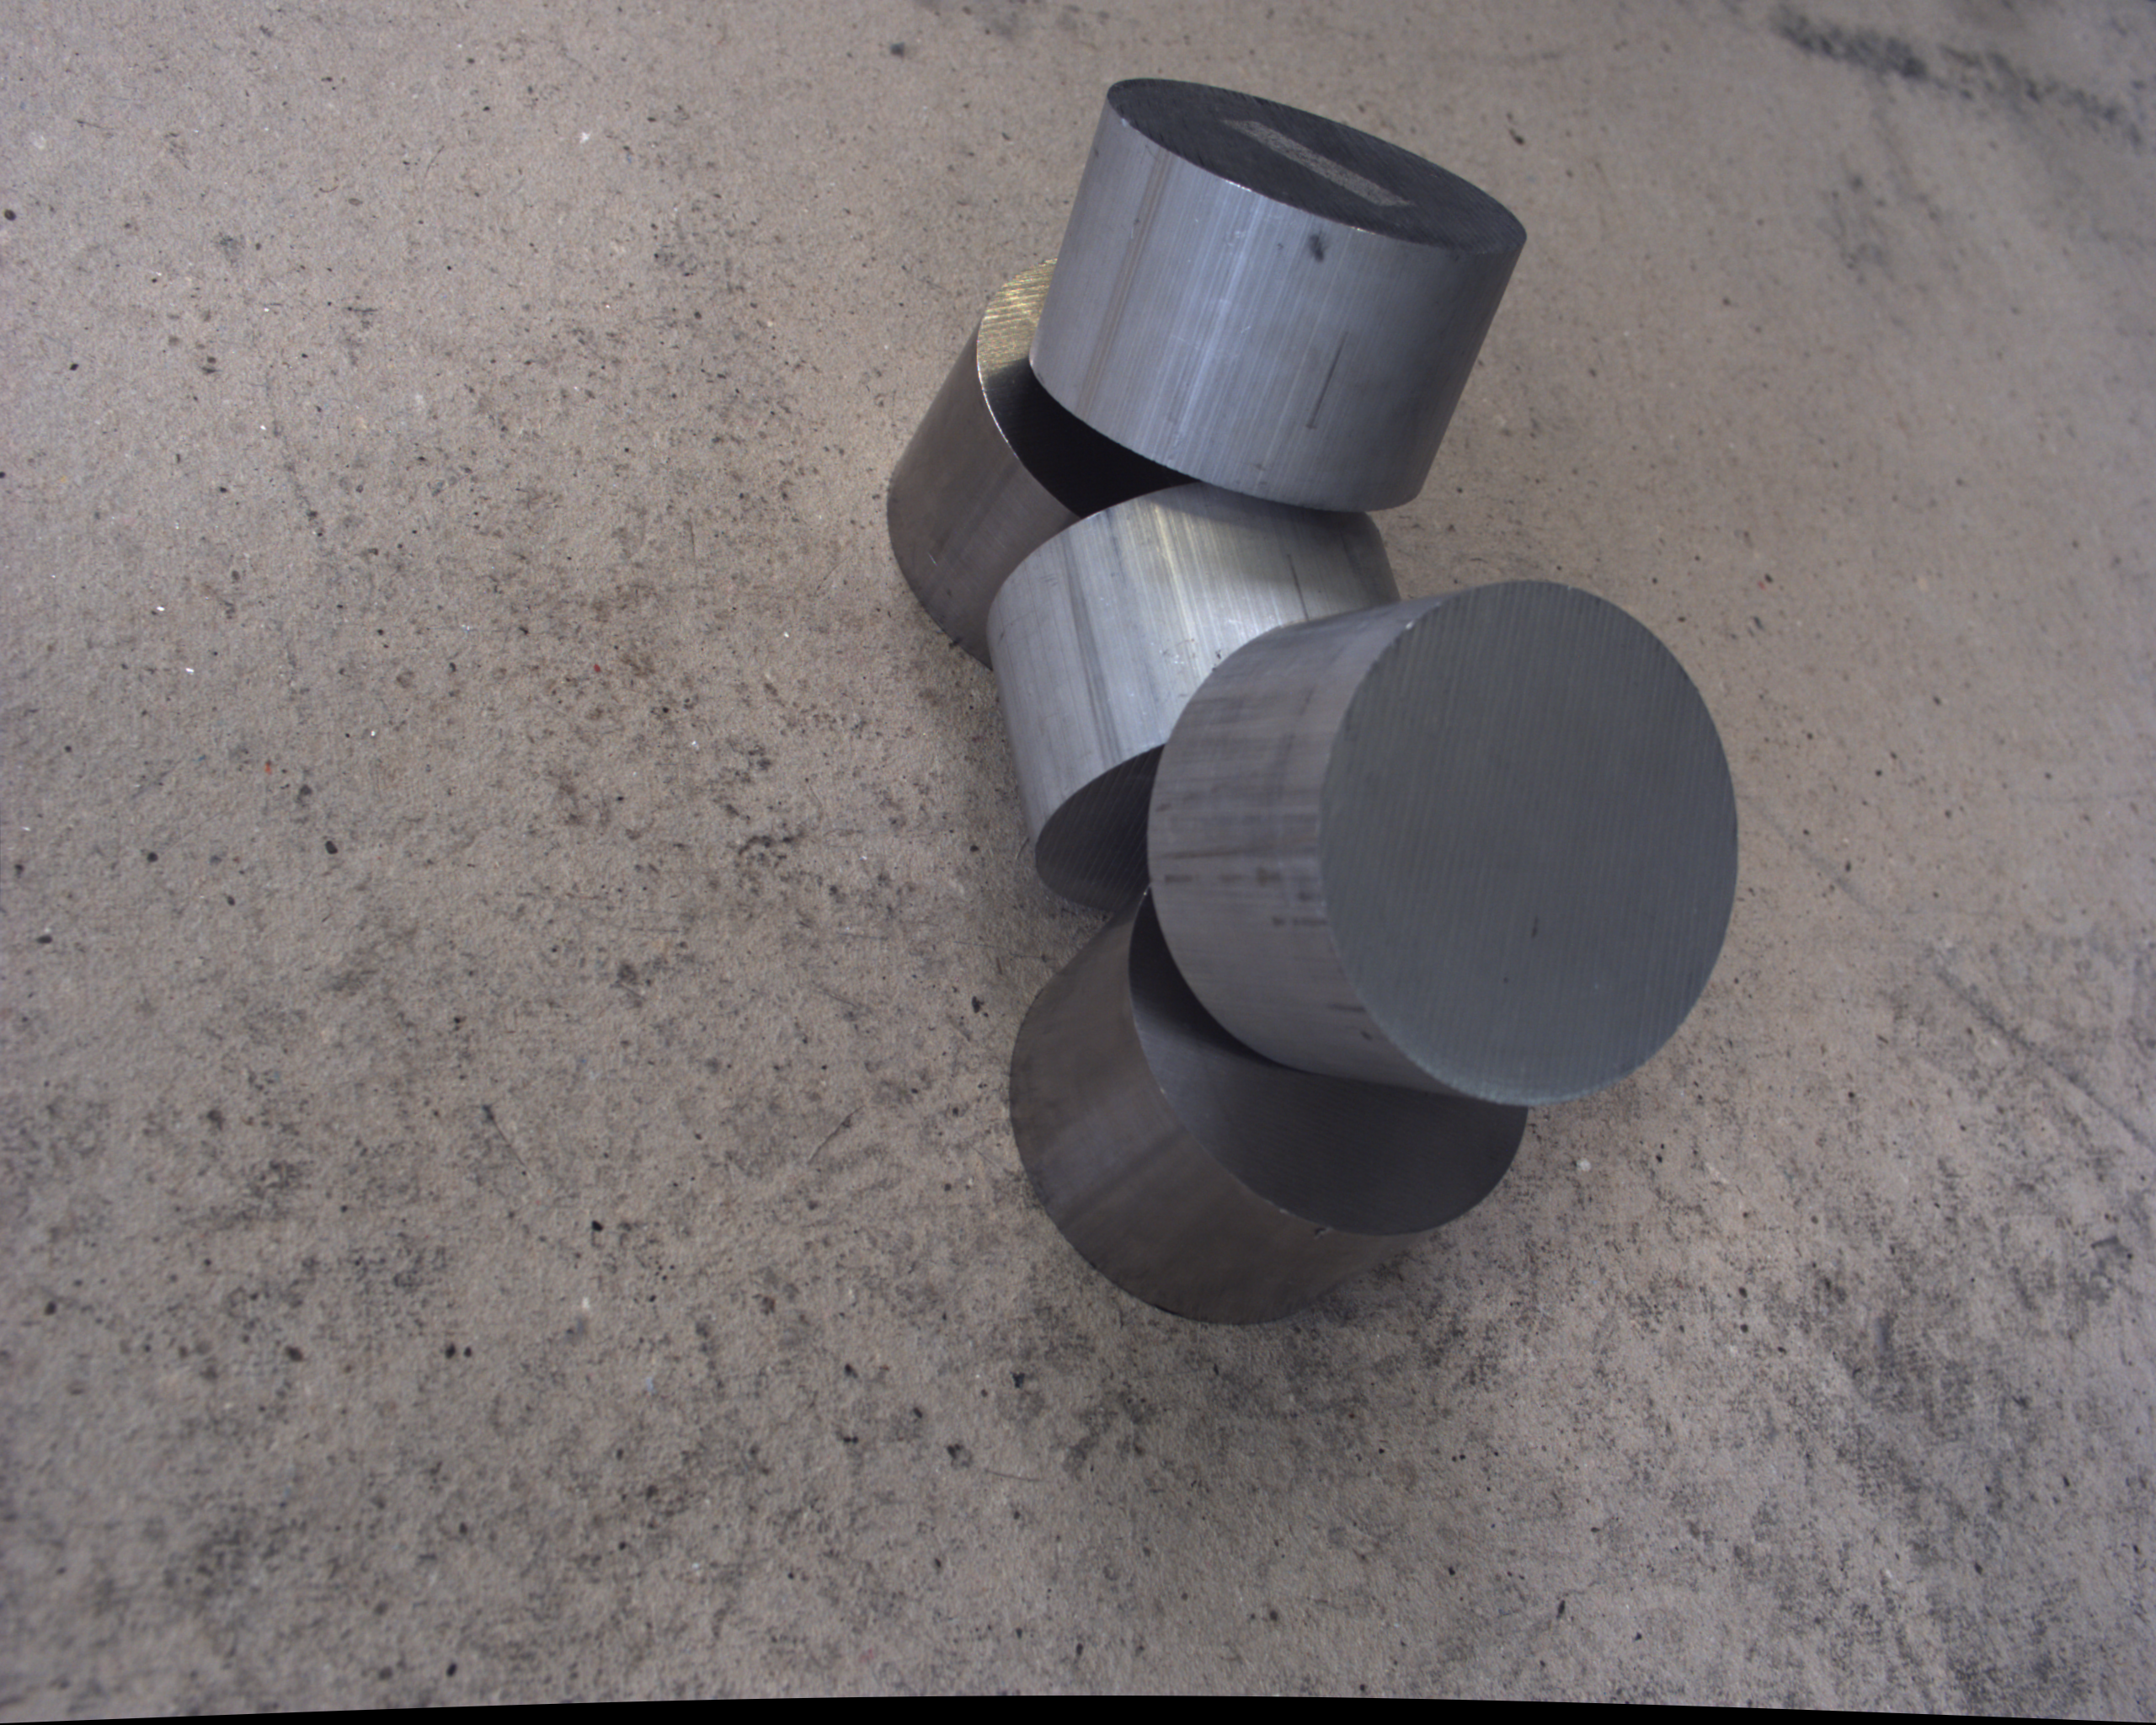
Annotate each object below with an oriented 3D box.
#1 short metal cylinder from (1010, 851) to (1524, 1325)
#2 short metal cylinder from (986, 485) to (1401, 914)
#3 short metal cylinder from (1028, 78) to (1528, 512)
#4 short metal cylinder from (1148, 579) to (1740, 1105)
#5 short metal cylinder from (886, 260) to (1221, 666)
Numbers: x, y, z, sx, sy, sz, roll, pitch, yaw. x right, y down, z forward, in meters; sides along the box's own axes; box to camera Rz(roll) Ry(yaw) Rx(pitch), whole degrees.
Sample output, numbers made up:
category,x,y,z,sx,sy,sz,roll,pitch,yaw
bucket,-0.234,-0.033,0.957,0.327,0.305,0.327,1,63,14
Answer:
category,x,y,z,sx,sy,sz,roll,pitch,yaw
short metal cylinder,0.034,0.039,0.384,0.081,0.050,0.080,14,56,-21
short metal cylinder,0.026,-0.030,0.403,0.081,0.080,0.050,1,61,-28
short metal cylinder,0.036,-0.107,0.391,0.081,0.050,0.080,15,32,-9
short metal cylinder,0.059,-0.003,0.338,0.081,0.050,0.080,0,90,-27
short metal cylinder,0.006,-0.080,0.442,0.081,0.050,0.080,14,56,-21
